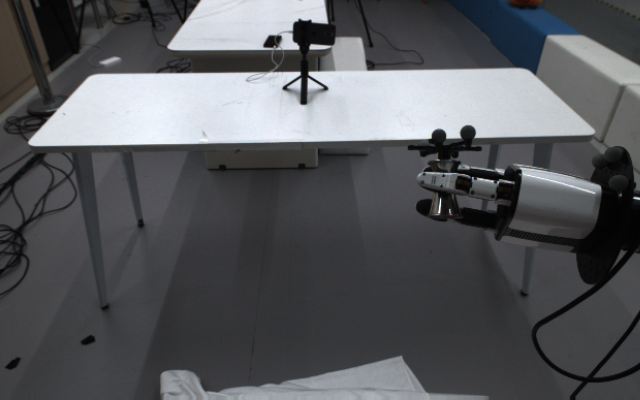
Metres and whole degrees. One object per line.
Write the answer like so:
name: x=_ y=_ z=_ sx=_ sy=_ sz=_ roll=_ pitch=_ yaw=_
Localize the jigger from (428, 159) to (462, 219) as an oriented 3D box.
jigger: x=0.151 y=-0.014 z=0.593 sx=0.043 sy=0.071 sz=0.043 roll=2 pitch=-6 yaw=0
